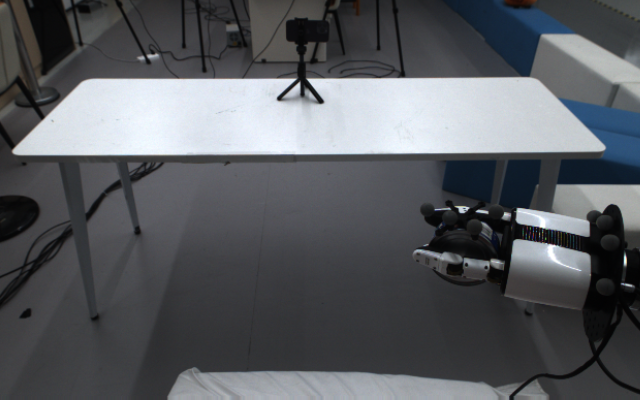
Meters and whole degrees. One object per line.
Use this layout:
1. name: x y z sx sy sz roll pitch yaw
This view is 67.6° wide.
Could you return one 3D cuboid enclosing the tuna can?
1. tuna can: 0.182 0.062 0.605 0.085 0.085 0.034 15 34 18
